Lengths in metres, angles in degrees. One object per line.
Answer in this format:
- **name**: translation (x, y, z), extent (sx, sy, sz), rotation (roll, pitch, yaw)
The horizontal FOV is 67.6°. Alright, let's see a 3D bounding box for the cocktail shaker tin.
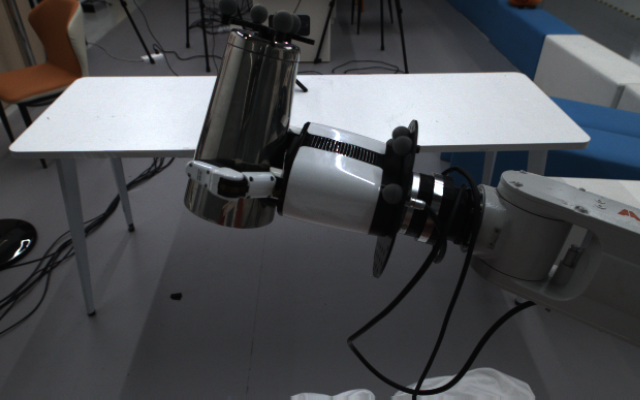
- **cocktail shaker tin**: translation (-0.069, -0.068, 0.468), extent (0.093, 0.170, 0.093), rotation (14, 20, -5)
